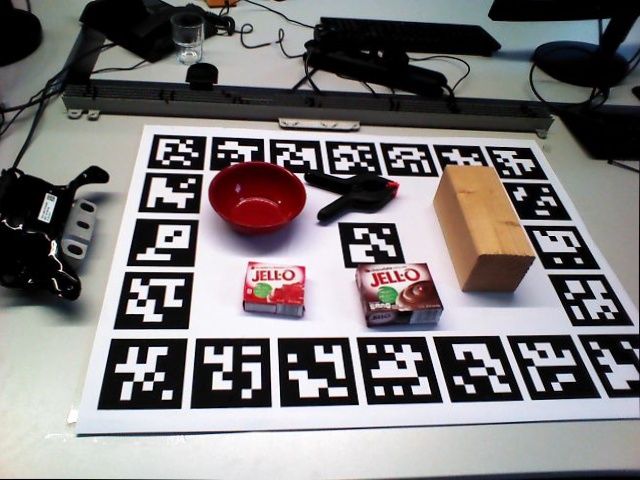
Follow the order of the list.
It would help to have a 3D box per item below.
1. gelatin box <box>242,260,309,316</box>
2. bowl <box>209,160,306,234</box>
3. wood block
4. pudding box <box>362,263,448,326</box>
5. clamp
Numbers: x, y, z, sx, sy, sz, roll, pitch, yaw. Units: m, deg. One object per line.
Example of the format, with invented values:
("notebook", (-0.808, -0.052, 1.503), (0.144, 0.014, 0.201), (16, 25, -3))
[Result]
("gelatin box", (-0.064, 0.068, 0.752), (0.089, 0.030, 0.073), (7, 49, -2))
("bowl", (-0.100, -0.062, 0.858), (0.162, 0.055, 0.160), (4, 50, -6))
("wood block", (0.274, -0.022, 0.840), (0.090, 0.091, 0.205), (3, 48, -6))
("pudding box", (0.122, 0.079, 0.764), (0.114, 0.039, 0.089), (-1, 52, -6))
("clamp", (0.056, -0.083, 0.913), (0.165, 0.037, 0.121), (-6, 49, -16))
